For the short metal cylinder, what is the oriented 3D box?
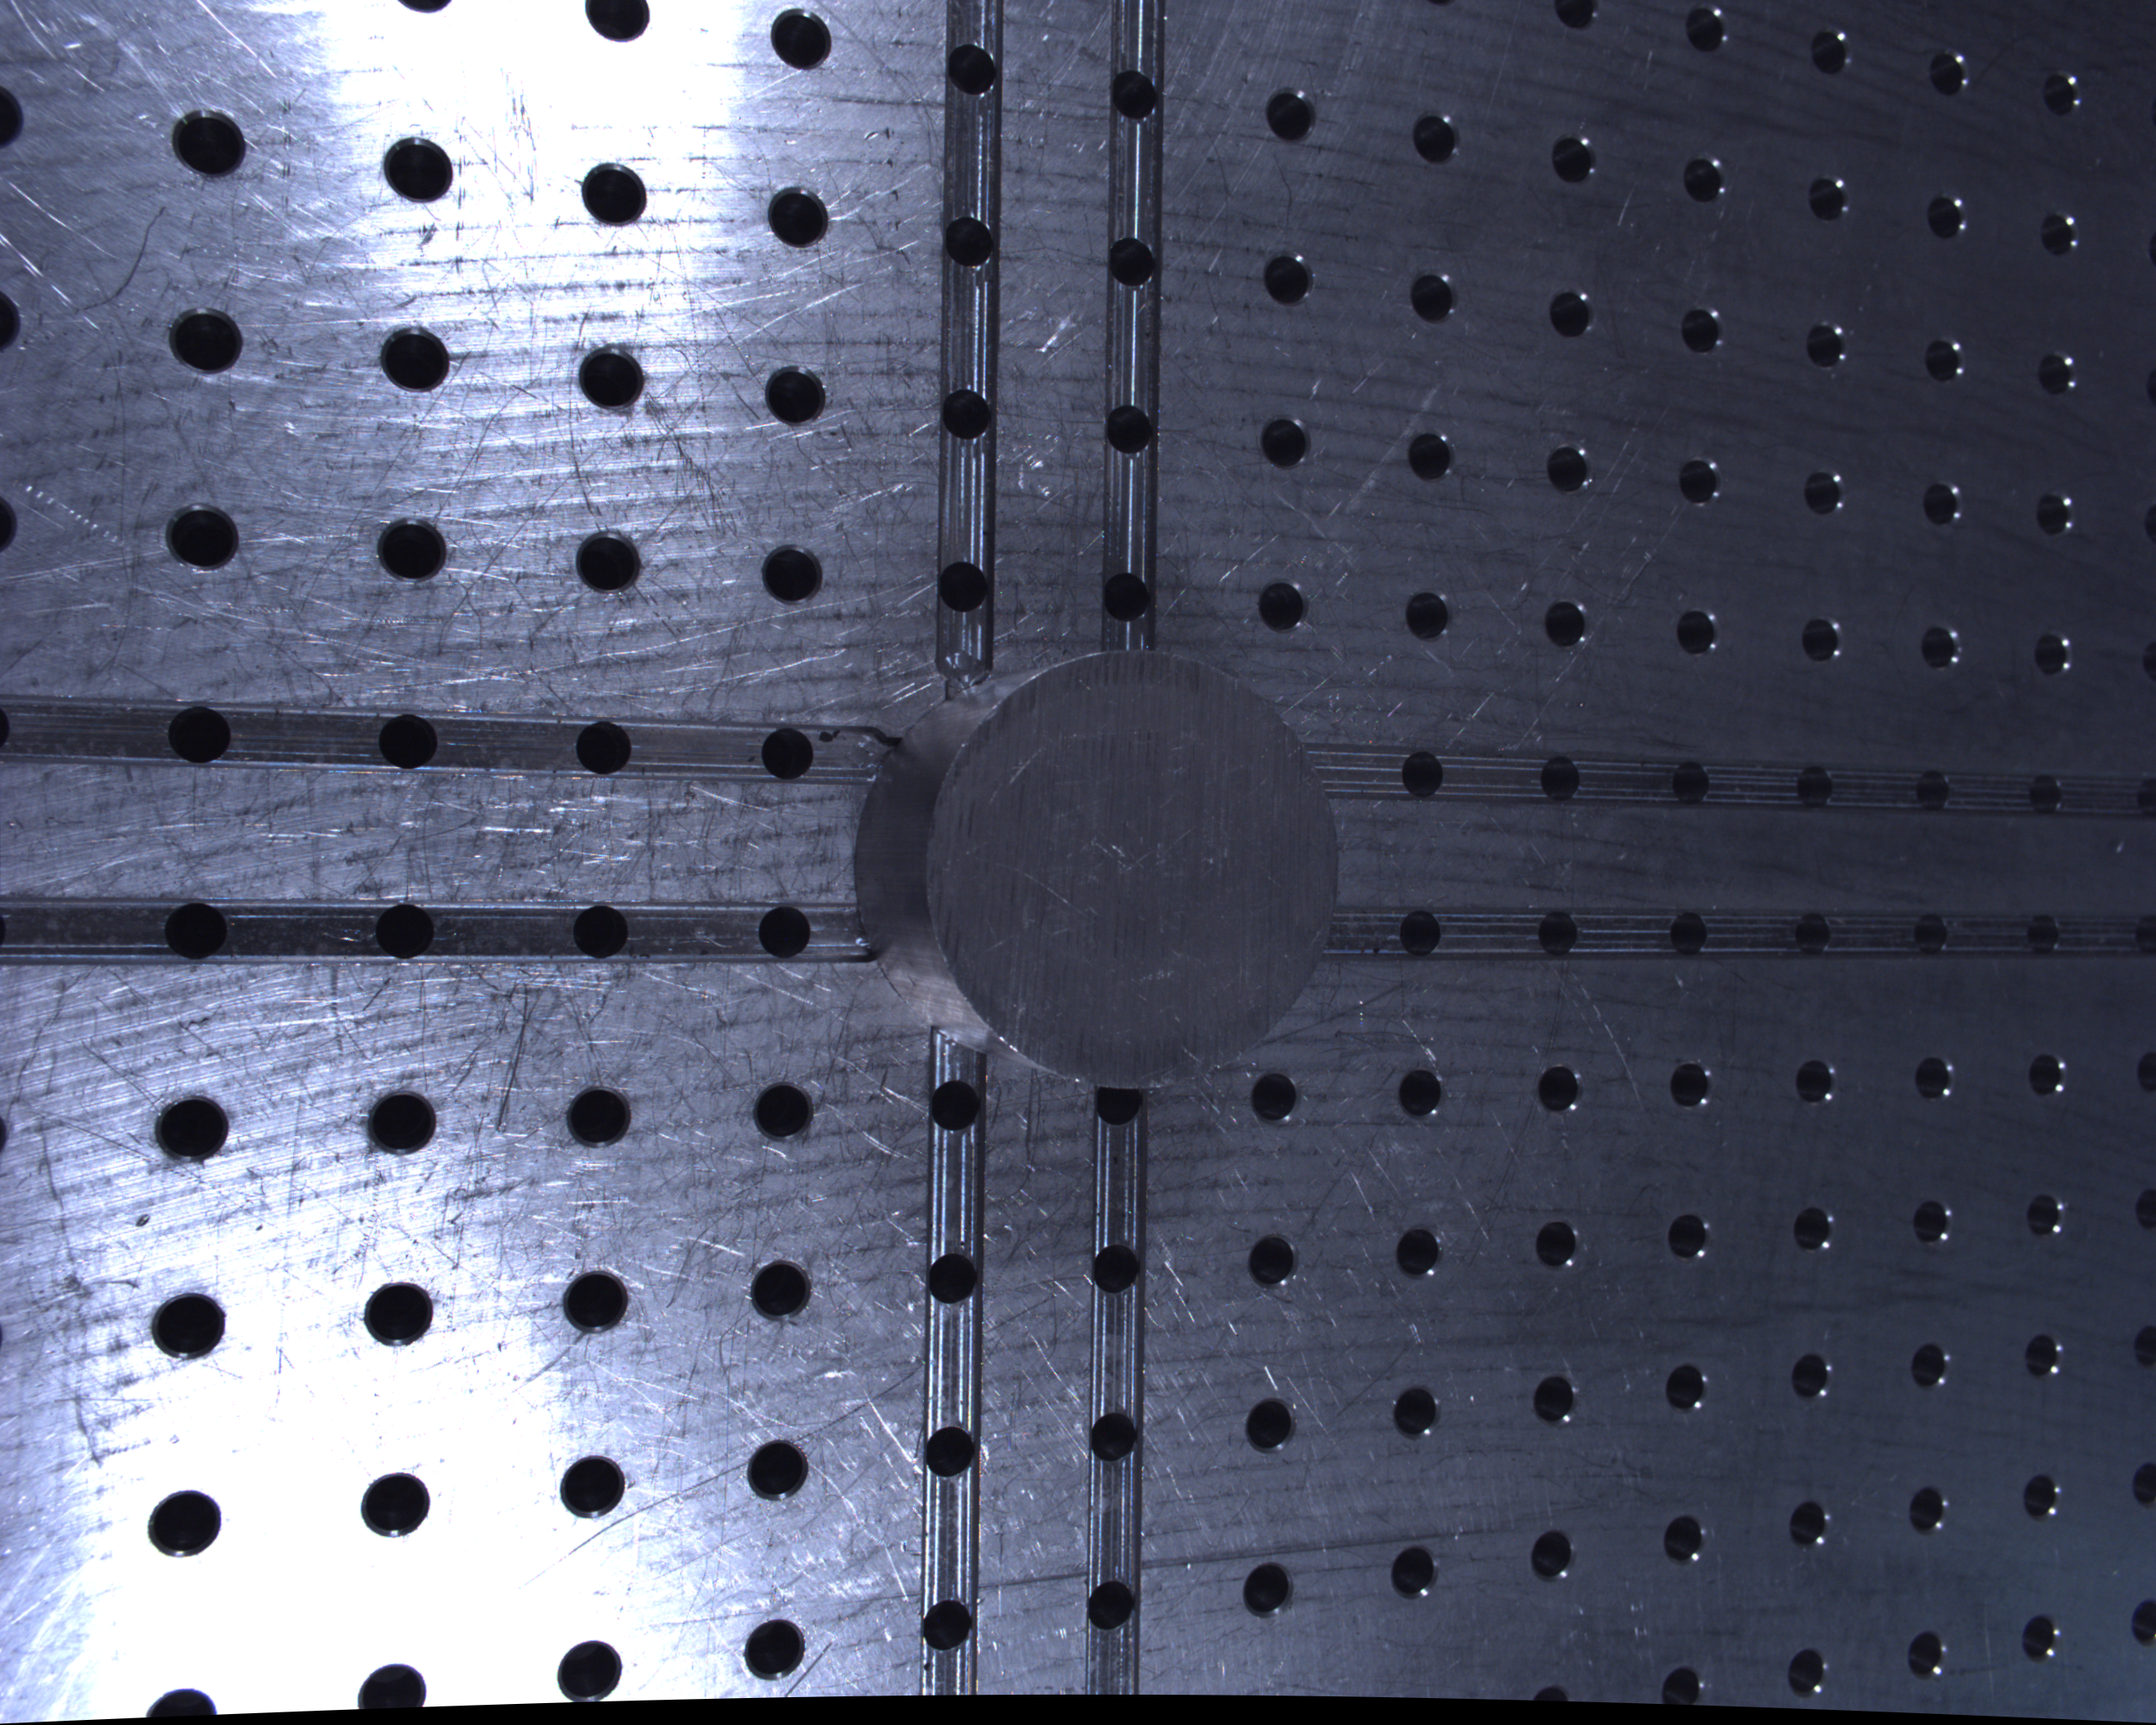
[{"bbox_3d":[0.003,0.001,0.401,0.081,0.050,0.079,0,90,-21],"label":"short metal cylinder"}]
